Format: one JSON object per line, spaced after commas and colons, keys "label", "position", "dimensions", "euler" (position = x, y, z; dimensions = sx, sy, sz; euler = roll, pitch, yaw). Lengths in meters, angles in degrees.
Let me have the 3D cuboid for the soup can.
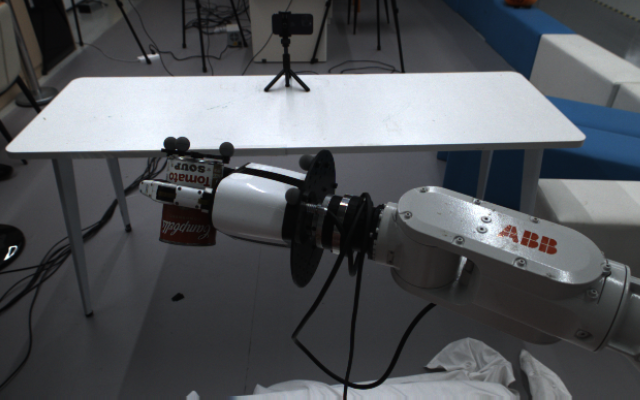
{"label": "soup can", "position": [-0.154, 0.002, 0.585], "dimensions": [0.067, 0.101, 0.067], "euler": [7, 3, 0]}
